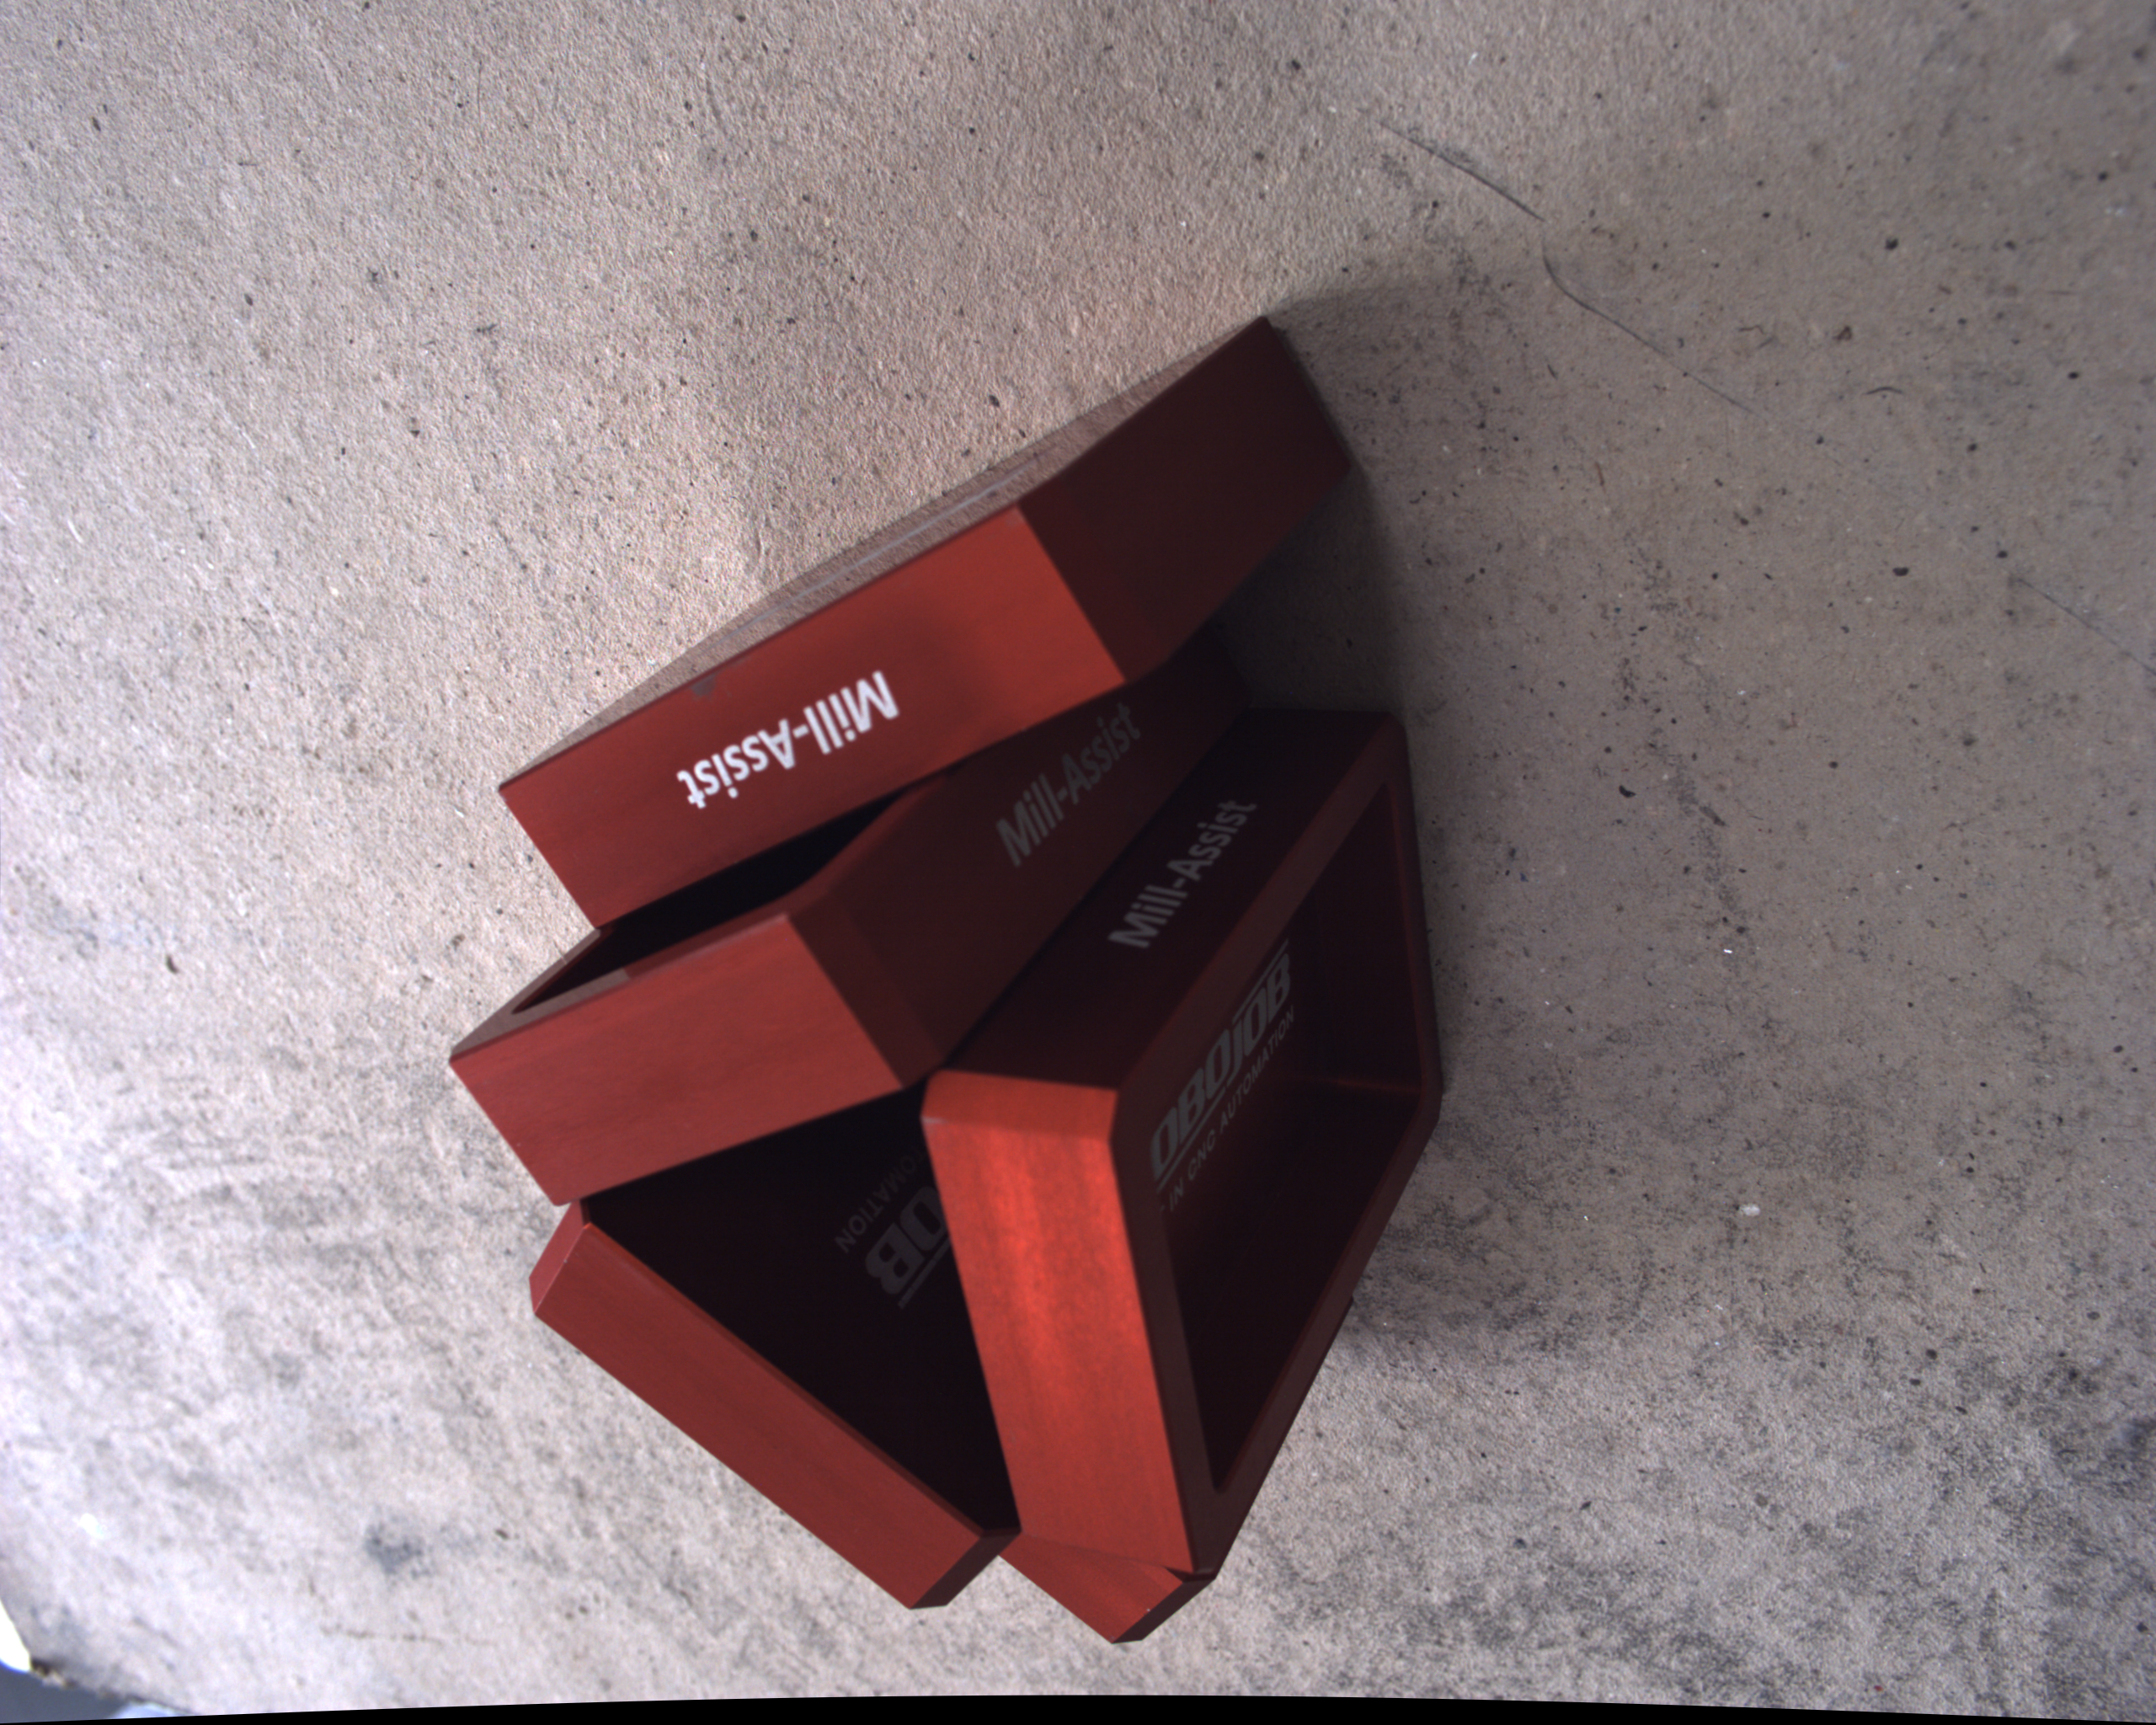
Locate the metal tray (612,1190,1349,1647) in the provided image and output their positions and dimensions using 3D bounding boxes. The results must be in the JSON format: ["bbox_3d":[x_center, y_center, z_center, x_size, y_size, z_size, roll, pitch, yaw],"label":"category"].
[{"bbox_3d":[-0.017,0.083,0.425,0.130,0.090,0.030,37,129,3],"label":"metal tray"}]

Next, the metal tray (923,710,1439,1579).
[{"bbox_3d":[0.025,0.041,0.352,0.030,0.131,0.089,5,121,26],"label":"metal tray"}]

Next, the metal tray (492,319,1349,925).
[{"bbox_3d":[-0.027,-0.040,0.355,0.130,0.090,0.030,-21,107,36],"label":"metal tray"}]

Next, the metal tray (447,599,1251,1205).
[{"bbox_3d":[-0.035,0.000,0.358,0.090,0.131,0.030,-22,107,36],"label":"metal tray"}]

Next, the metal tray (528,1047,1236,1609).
[{"bbox_3d":[-0.027,0.061,0.391,0.090,0.131,0.030,37,129,3],"label":"metal tray"}]
